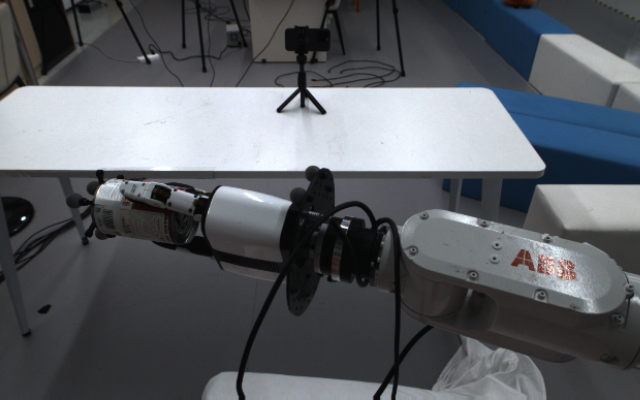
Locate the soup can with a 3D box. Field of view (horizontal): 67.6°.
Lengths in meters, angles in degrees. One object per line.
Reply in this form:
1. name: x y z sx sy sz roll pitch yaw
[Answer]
1. soup can: -0.197 0.014 0.561 0.101 0.067 0.067 7 35 10
